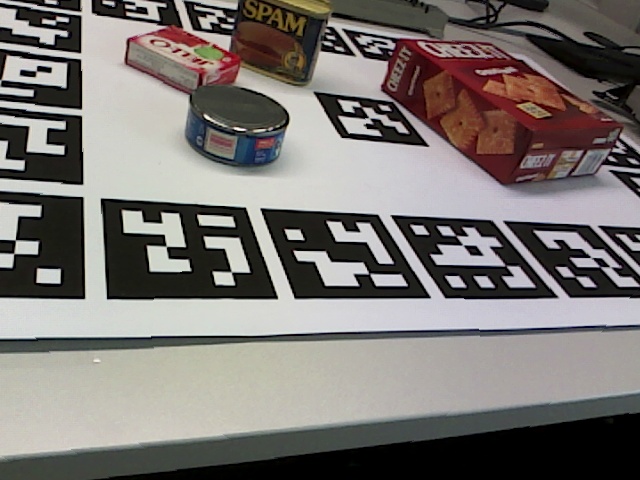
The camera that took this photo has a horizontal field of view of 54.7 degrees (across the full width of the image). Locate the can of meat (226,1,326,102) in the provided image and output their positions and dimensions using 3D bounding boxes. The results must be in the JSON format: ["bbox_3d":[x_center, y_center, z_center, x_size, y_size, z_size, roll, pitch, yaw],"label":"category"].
[{"bbox_3d":[-0.054,-0.212,0.699,0.102,0.083,0.058,18,33,3],"label":"can of meat"}]

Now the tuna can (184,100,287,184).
[{"bbox_3d":[-0.074,-0.086,0.537,0.085,0.034,0.086,11,38,-9],"label":"tuna can"}]

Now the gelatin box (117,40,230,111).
[{"bbox_3d":[-0.148,-0.171,0.632,0.089,0.030,0.073,28,32,10],"label":"gelatin box"}]

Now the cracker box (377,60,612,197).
[{"bbox_3d":[0.199,-0.138,0.716,0.163,0.072,0.215,-9,41,-37],"label":"cracker box"}]
